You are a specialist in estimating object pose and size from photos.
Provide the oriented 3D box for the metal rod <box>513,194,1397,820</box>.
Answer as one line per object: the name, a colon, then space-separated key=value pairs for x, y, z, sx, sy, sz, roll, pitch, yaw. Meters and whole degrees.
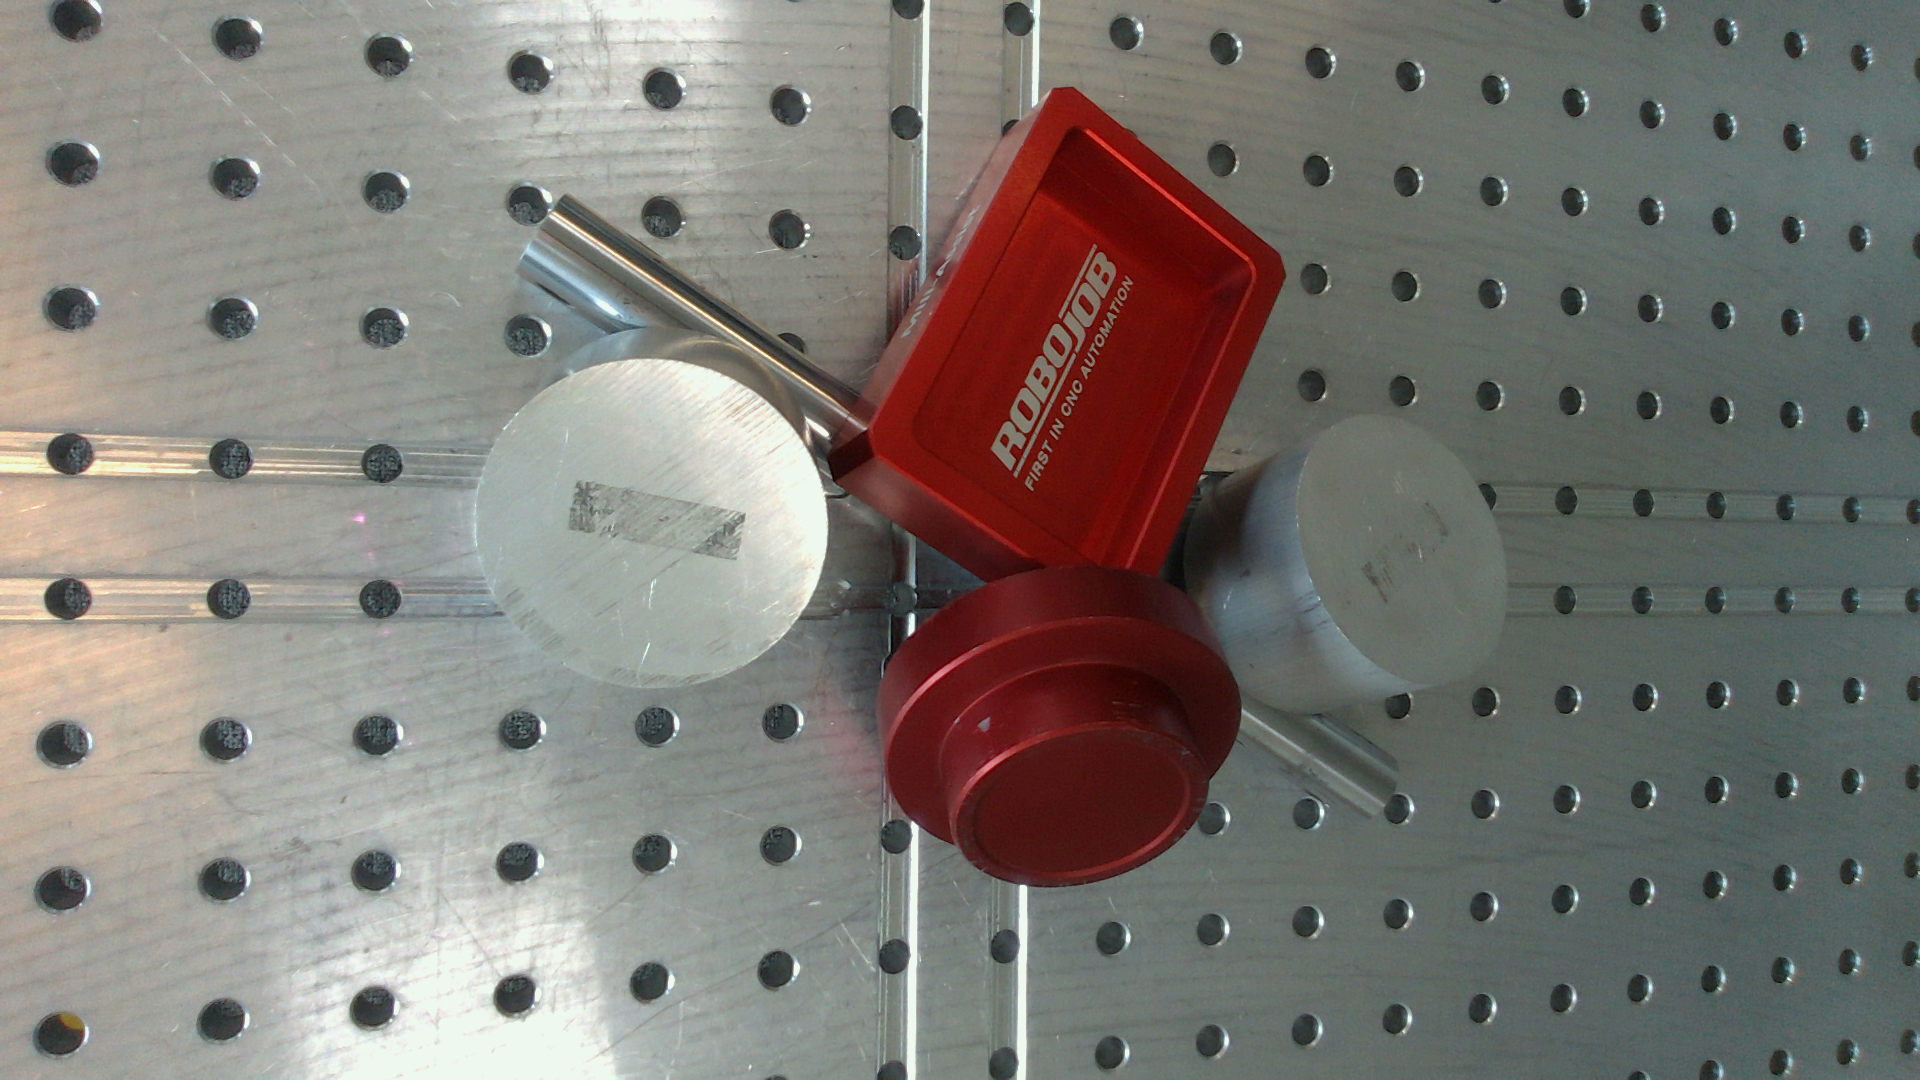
metal rod: x=0.011 y=0.000 z=0.400 sx=0.301 sy=0.025 sz=0.025 roll=33 pitch=79 yaw=-17

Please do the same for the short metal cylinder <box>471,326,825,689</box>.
short metal cylinder: x=-0.075 y=-0.010 z=0.343 sx=0.080 sy=0.050 sz=0.080 roll=-3 pitch=107 yaw=-9

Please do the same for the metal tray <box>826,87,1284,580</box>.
metal tray: x=0.031 y=-0.051 z=0.389 sx=0.090 sy=0.030 sz=0.130 roll=34 pitch=66 yaw=-17

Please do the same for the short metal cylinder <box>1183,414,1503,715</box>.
short metal cylinder: x=0.114 y=0.009 z=0.412 sx=0.080 sy=0.050 sz=0.080 roll=11 pitch=68 yaw=-28

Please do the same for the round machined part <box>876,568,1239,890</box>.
round machined part: x=0.028 y=0.057 z=0.368 sx=0.098 sy=0.042 sz=0.098 roll=-6 pitch=133 yaw=-6
